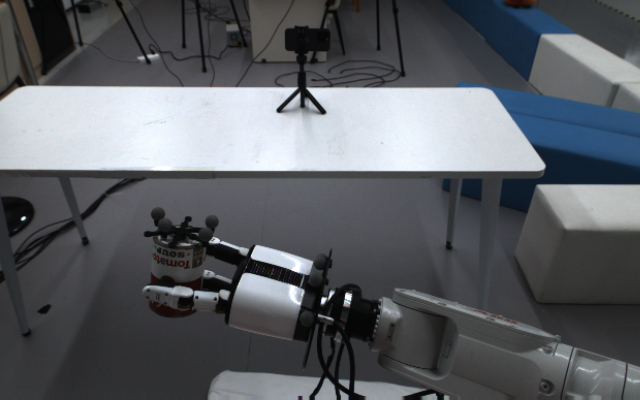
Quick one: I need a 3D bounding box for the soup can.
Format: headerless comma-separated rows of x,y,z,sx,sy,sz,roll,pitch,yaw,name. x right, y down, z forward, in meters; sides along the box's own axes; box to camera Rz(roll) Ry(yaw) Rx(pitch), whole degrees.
-0.182,0.093,0.627,0.067,0.101,0.067,9,20,-3,soup can
